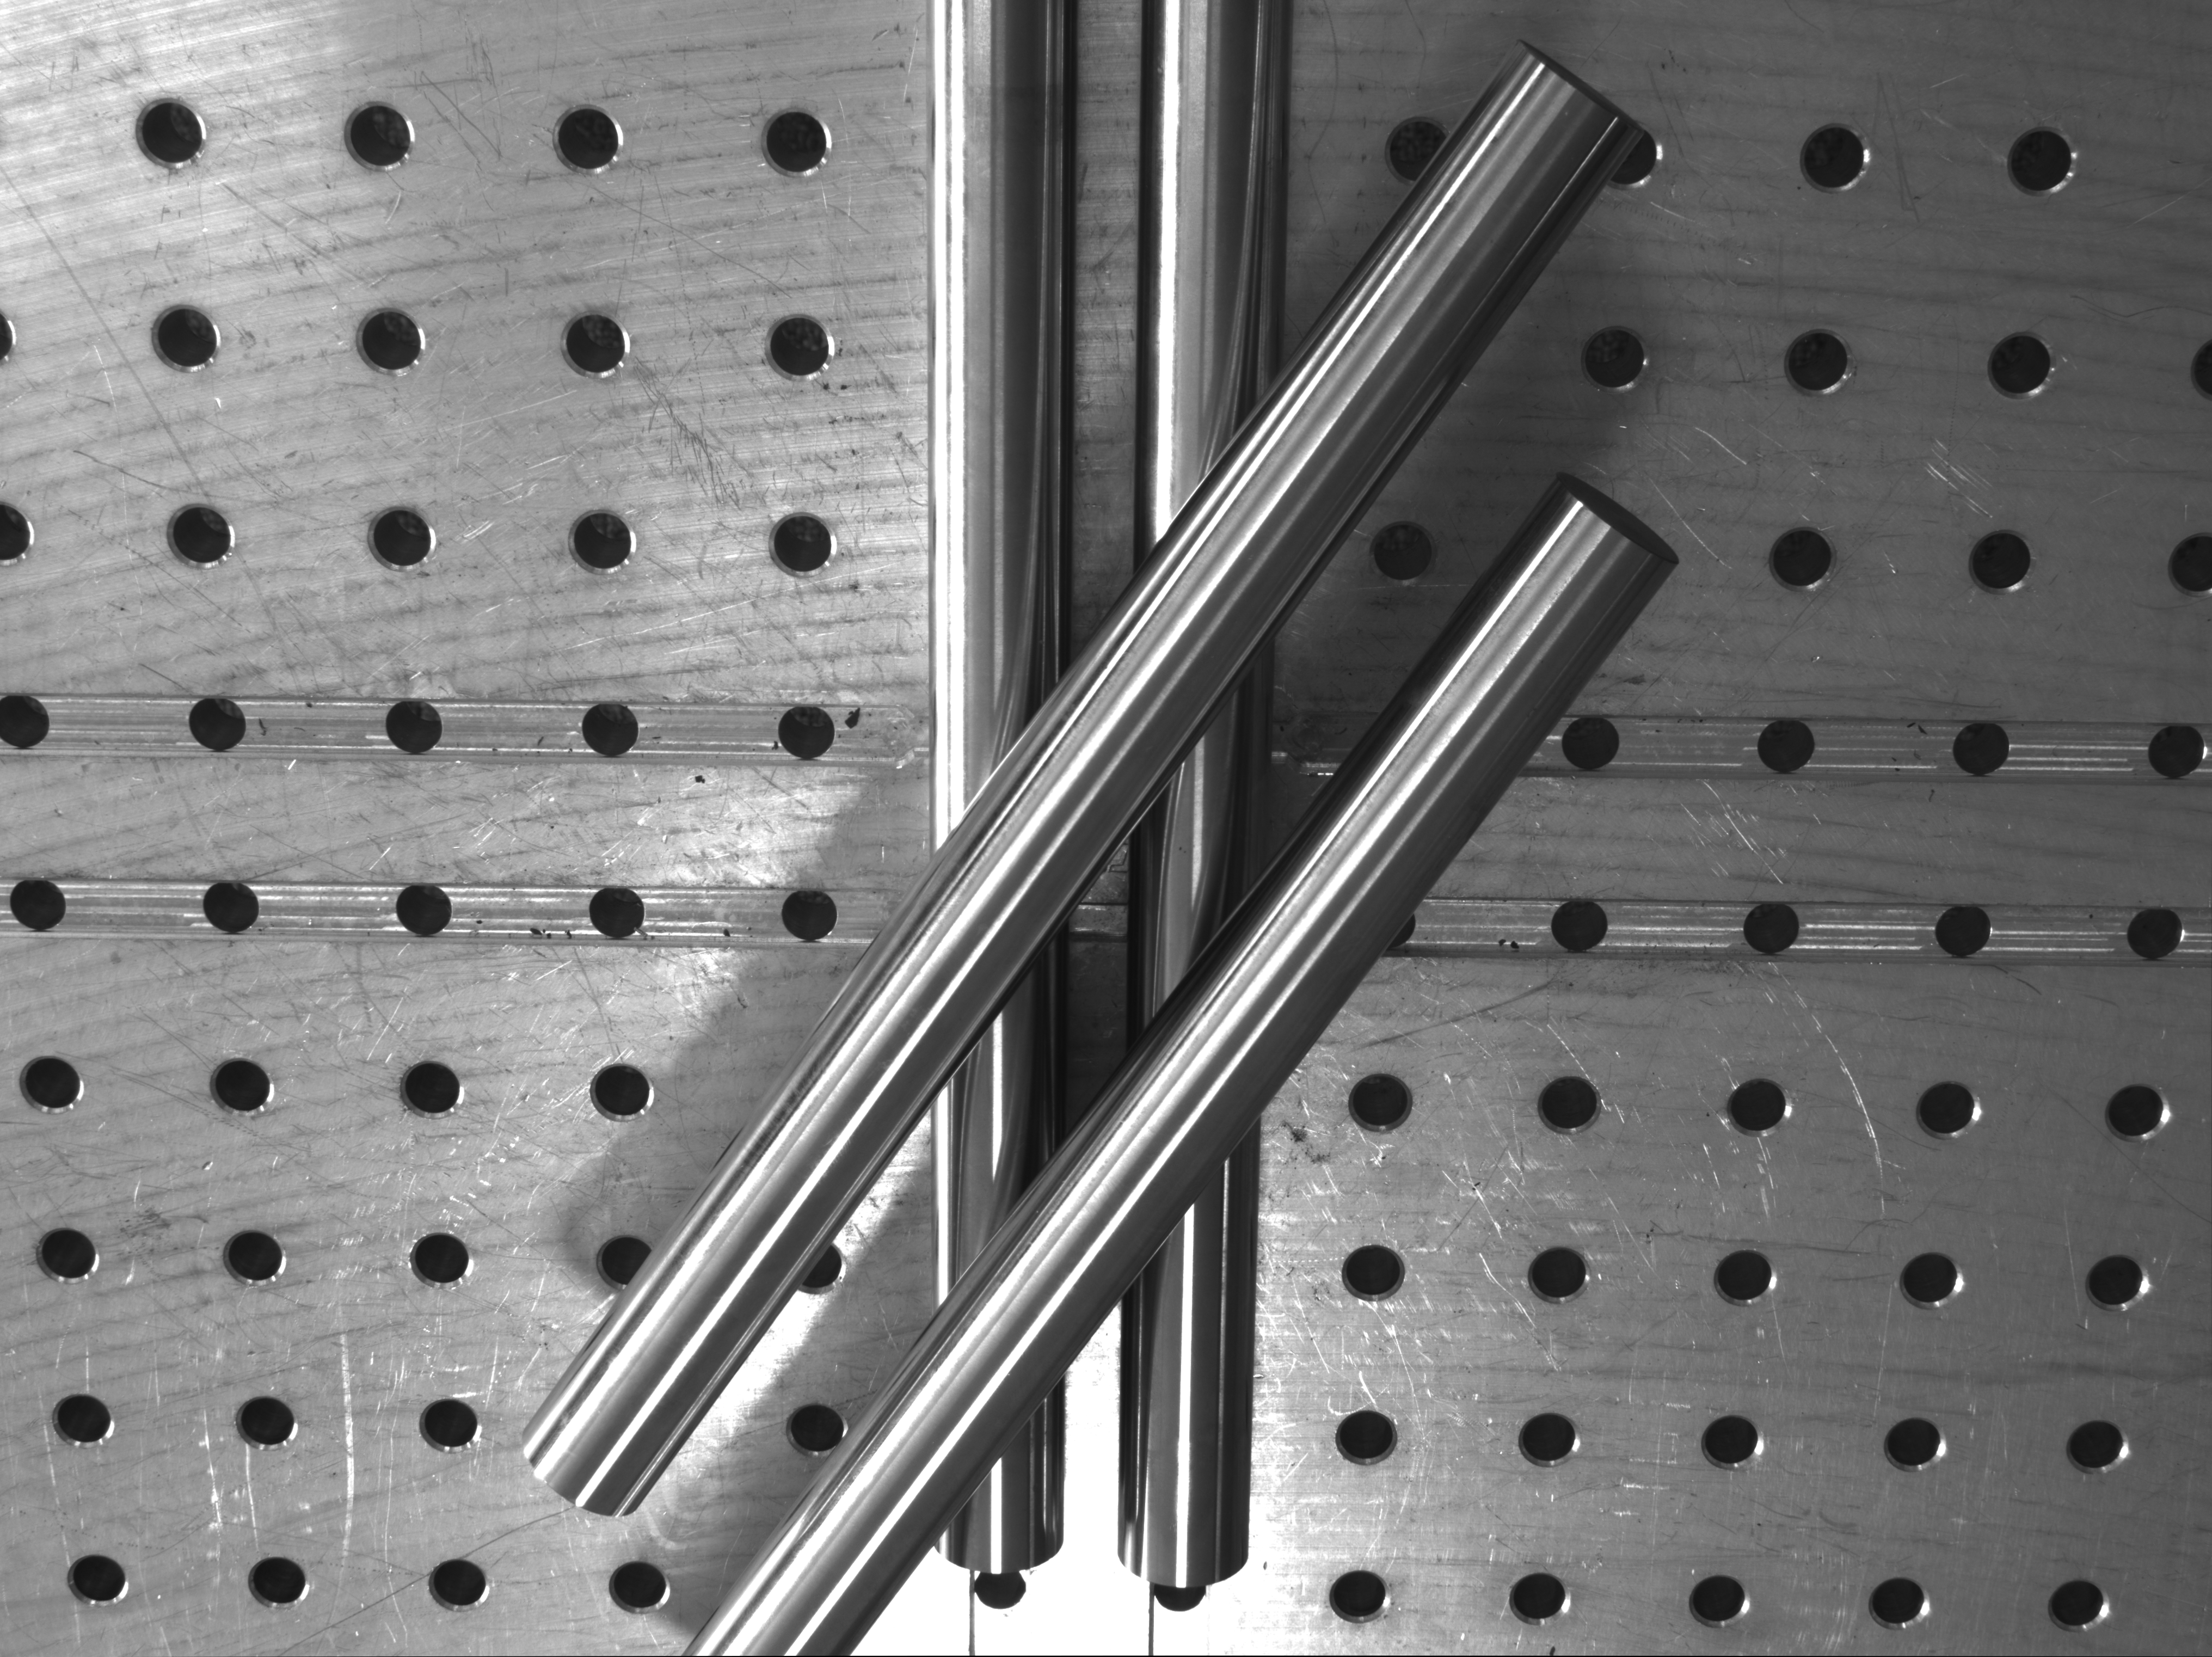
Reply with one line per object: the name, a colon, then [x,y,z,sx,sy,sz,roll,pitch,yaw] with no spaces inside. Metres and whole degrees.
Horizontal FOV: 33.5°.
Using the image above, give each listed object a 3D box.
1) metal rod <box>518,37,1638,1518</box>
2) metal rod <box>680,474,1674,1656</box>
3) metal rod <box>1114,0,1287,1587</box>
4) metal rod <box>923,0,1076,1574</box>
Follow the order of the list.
metal rod: [-0.011,-0.001,0.620,0.025,0.025,0.300,33,107,-11]
metal rod: [-0.001,0.066,0.644,0.025,0.025,0.300,33,107,-11]
metal rod: [0.016,-0.004,0.646,0.025,0.025,0.300,1,110,0]
metal rod: [-0.019,-0.006,0.645,0.025,0.025,0.300,1,110,0]
